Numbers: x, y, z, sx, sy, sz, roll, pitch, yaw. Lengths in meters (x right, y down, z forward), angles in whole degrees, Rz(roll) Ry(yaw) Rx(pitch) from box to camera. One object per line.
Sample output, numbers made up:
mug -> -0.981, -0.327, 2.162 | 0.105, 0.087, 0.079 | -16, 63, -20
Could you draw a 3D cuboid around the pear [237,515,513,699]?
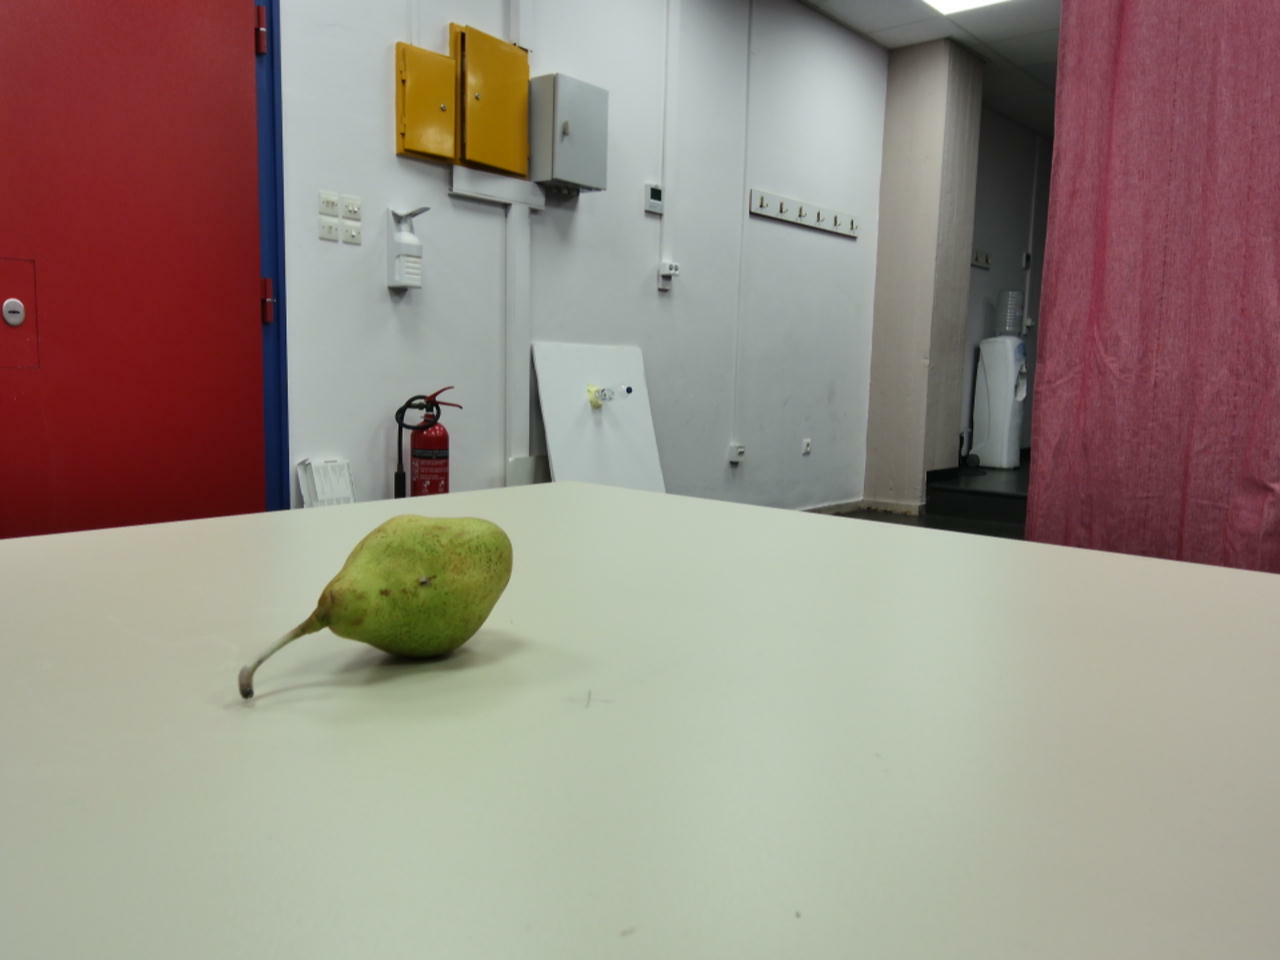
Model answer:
pear -> -0.102, 0.043, 0.385 | 0.111, 0.056, 0.056 | -3, 5, -35
